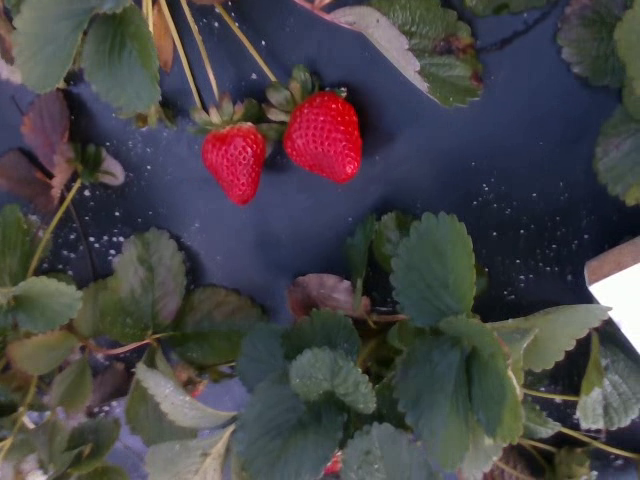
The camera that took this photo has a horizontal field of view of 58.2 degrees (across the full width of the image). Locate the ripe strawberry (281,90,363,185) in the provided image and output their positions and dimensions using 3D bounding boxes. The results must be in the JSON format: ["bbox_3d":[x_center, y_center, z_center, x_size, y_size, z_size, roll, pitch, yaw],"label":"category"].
[{"bbox_3d":[0.001,-0.056,0.342,0.051,0.057,0.064,-12,53,-48],"label":"ripe strawberry"}]

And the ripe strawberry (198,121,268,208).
[{"bbox_3d":[-0.054,-0.049,0.370,0.049,0.056,0.041,-18,0,25],"label":"ripe strawberry"}]
